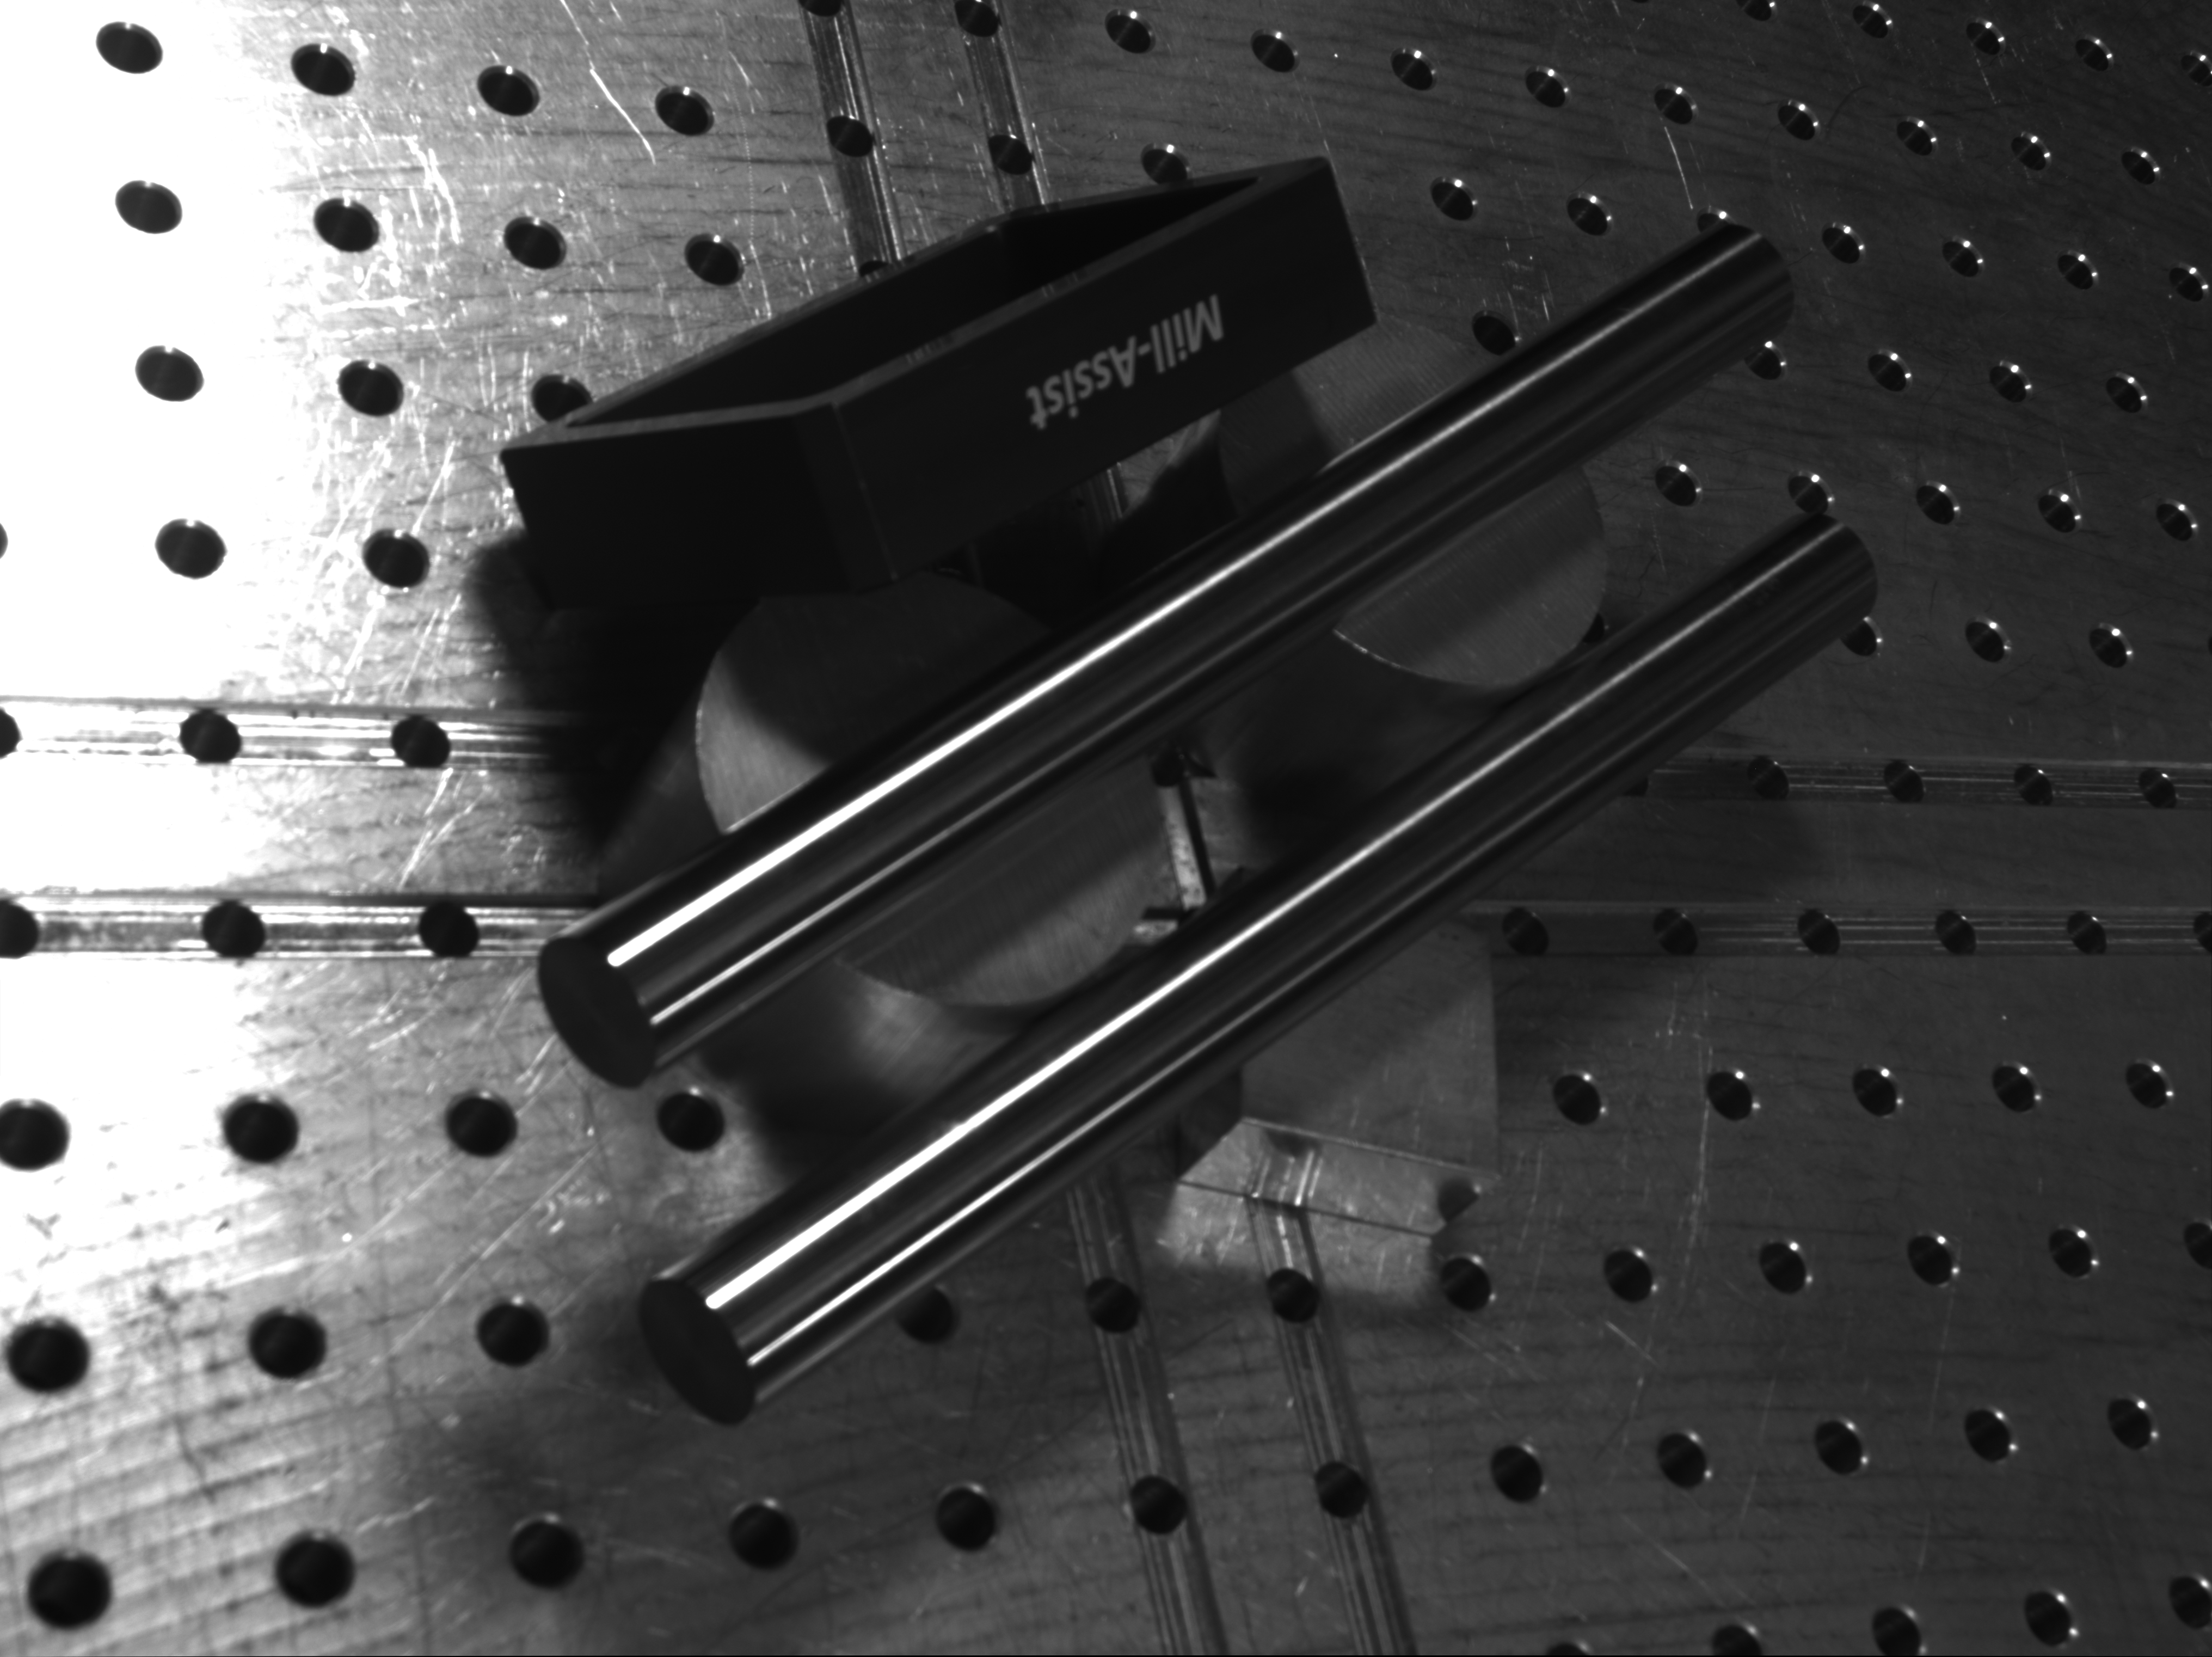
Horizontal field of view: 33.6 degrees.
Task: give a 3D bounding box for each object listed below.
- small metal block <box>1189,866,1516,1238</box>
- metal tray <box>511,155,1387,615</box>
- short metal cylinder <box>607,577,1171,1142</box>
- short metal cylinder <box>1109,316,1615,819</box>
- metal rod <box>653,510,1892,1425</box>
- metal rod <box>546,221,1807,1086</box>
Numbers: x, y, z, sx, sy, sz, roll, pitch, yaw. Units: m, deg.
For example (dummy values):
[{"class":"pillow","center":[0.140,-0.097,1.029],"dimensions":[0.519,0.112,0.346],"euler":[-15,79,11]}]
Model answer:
[{"class":"small metal block","center":[0.043,0.039,0.640],"dimensions":[0.050,0.025,0.050],"euler":[14,56,-20]},{"class":"metal tray","center":[-0.026,-0.077,0.633],"dimensions":[0.130,0.090,0.030],"euler":[-32,112,-38]},{"class":"short metal cylinder","center":[-0.036,0.005,0.604],"dimensions":[0.080,0.050,0.080],"euler":[14,56,-21]},{"class":"short metal cylinder","center":[0.047,-0.049,0.683],"dimensions":[0.080,0.050,0.080],"euler":[14,56,-21]},{"class":"metal rod","center":[0.043,0.013,0.625],"dimensions":[0.301,0.025,0.025],"euler":[-32,80,-38]},{"class":"metal rod","center":[0.027,-0.040,0.616],"dimensions":[0.301,0.025,0.025],"euler":[-34,81,-38]}]
